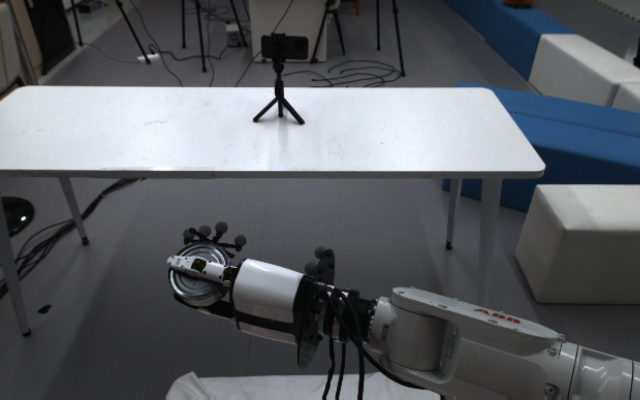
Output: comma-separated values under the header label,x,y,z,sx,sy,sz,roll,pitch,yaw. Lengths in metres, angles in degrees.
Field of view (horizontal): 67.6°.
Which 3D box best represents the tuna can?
label,x,y,z,sx,sy,sz,roll,pitch,yaw
tuna can,-0.164,0.103,0.674,0.085,0.034,0.085,-3,57,4
